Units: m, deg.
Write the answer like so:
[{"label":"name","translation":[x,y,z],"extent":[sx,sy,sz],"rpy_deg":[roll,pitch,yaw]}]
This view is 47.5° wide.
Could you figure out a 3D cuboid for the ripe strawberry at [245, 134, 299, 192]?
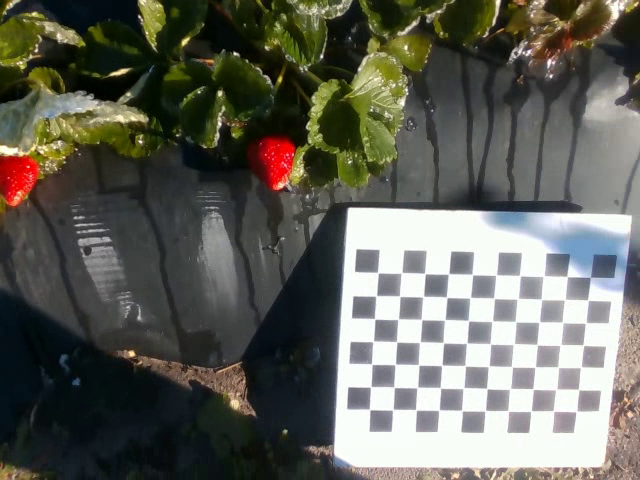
[{"label":"ripe strawberry","translation":[-0.033,-0.056,0.548],"extent":[0.041,0.053,0.047],"rpy_deg":[-5,-29,-4]}]

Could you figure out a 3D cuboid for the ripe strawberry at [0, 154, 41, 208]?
[{"label":"ripe strawberry","translation":[-0.228,-0.041,0.533],"extent":[0.037,0.051,0.040],"rpy_deg":[-12,-38,-2]}]
